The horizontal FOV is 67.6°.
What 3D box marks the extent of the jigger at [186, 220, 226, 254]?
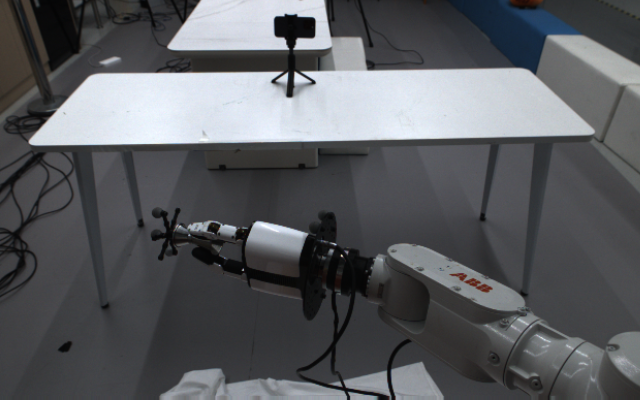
[{"bbox_3d":[-0.184,0.056,0.760,0.071,0.043,0.043,7,35,14],"label":"jigger"}]
